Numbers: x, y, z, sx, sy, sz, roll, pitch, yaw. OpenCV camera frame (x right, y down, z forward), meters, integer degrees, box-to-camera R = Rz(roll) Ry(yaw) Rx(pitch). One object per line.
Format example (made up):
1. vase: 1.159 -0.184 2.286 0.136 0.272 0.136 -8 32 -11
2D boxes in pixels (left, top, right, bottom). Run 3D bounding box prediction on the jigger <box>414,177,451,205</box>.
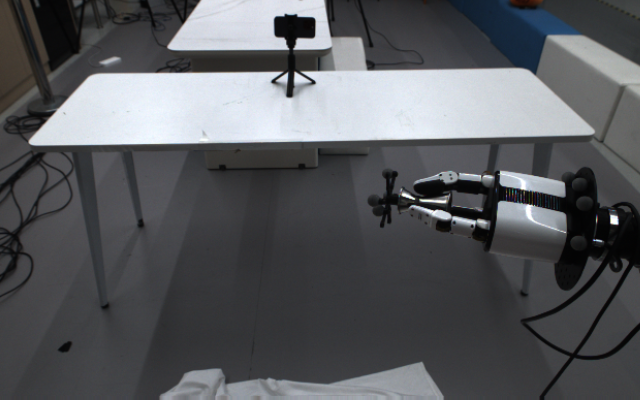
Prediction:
1. jigger: 0.152 -0.002 0.671 0.071 0.043 0.043 6 34 21
